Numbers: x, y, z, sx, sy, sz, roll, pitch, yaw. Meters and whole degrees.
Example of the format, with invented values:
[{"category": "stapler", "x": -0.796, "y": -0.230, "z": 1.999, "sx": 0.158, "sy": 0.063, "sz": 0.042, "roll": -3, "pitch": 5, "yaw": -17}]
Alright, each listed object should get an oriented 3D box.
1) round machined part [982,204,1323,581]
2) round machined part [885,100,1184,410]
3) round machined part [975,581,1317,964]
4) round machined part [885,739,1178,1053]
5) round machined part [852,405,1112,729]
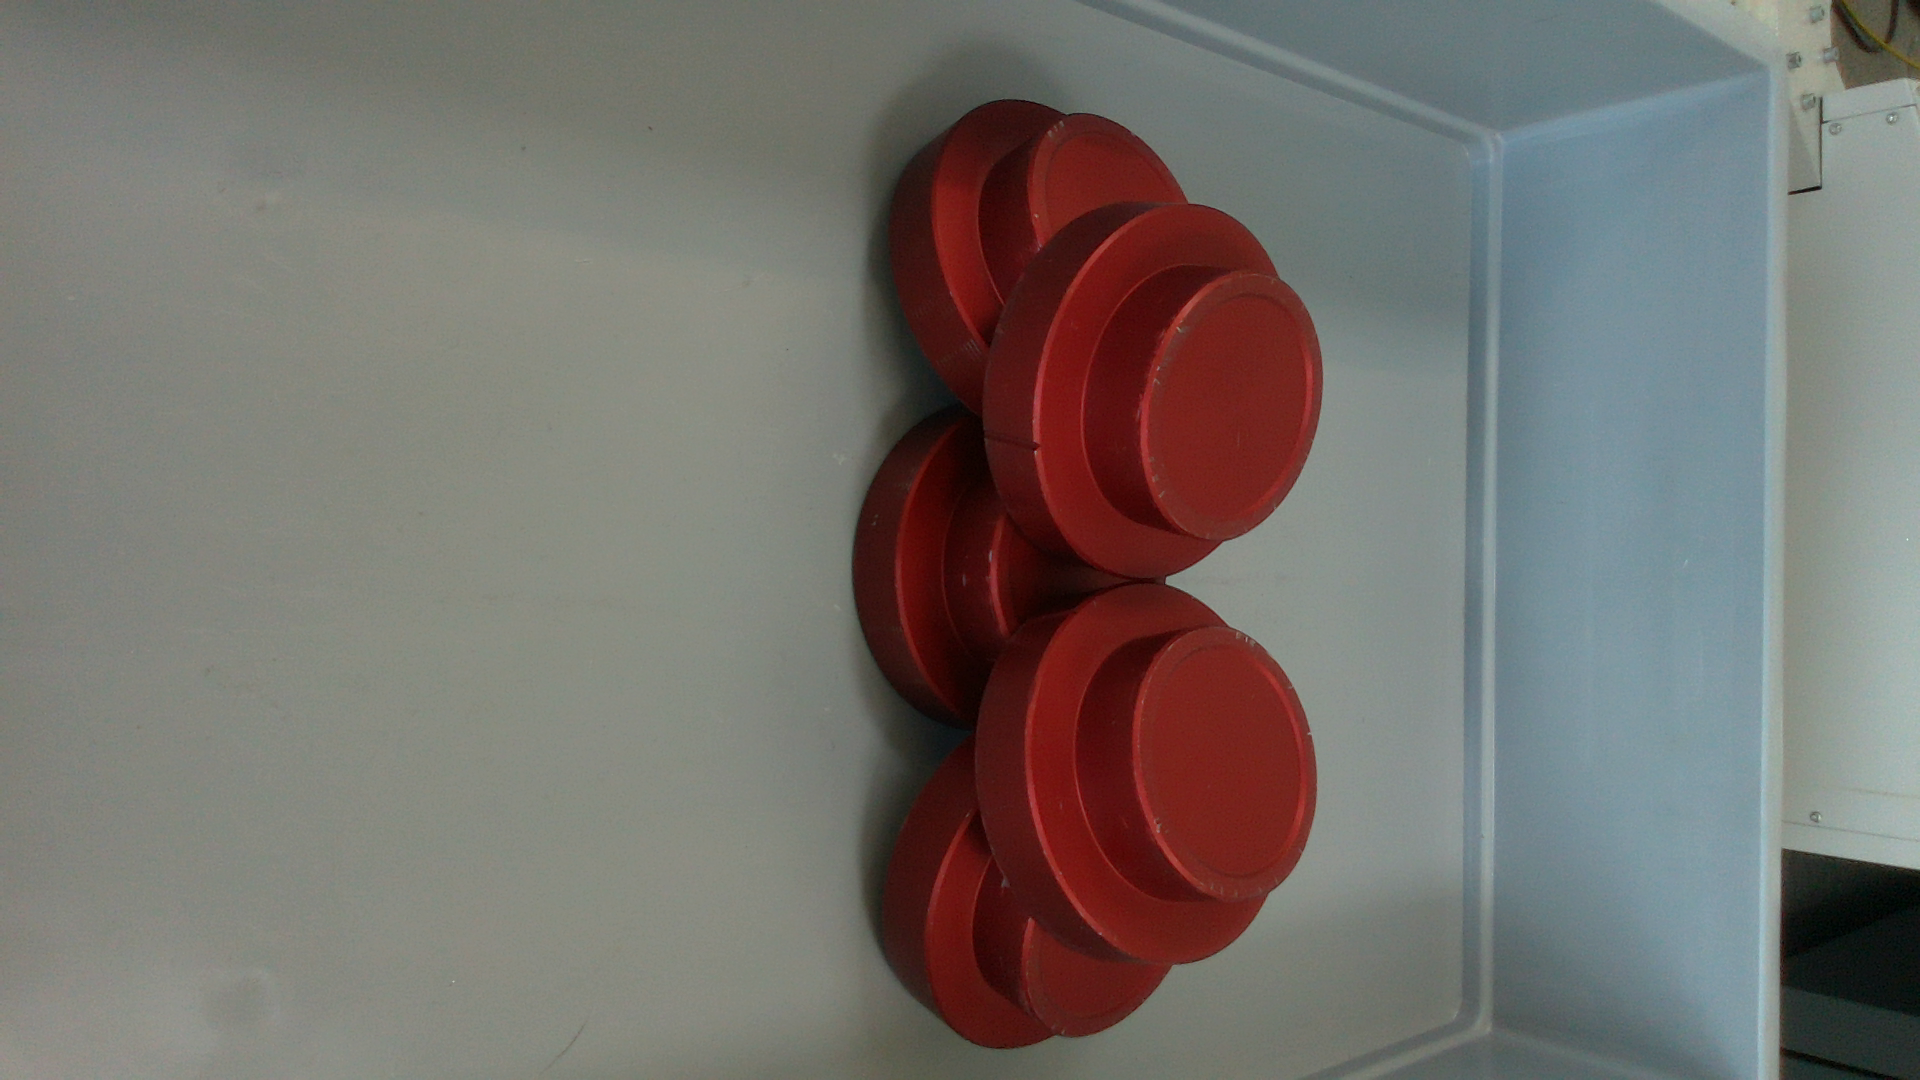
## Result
[{"category": "round machined part", "x": 0.056, "y": -0.037, "z": 0.357, "sx": 0.098, "sy": 0.042, "sz": 0.098, "roll": -12, "pitch": 110, "yaw": -37}, {"category": "round machined part", "x": 0.030, "y": -0.080, "z": 0.388, "sx": 0.098, "sy": 0.042, "sz": 0.098, "roll": 16, "pitch": 64, "yaw": -35}, {"category": "round machined part", "x": 0.054, "y": 0.059, "z": 0.356, "sx": 0.098, "sy": 0.042, "sz": 0.098, "roll": 12, "pitch": 72, "yaw": -38}, {"category": "round machined part", "x": 0.031, "y": 0.099, "z": 0.385, "sx": 0.098, "sy": 0.042, "sz": 0.098, "roll": -14, "pitch": 114, "yaw": -36}, {"category": "round machined part", "x": 0.021, "y": 0.007, "z": 0.394, "sx": 0.098, "sy": 0.042, "sz": 0.098, "roll": 1, "pitch": 88, "yaw": -40}]
